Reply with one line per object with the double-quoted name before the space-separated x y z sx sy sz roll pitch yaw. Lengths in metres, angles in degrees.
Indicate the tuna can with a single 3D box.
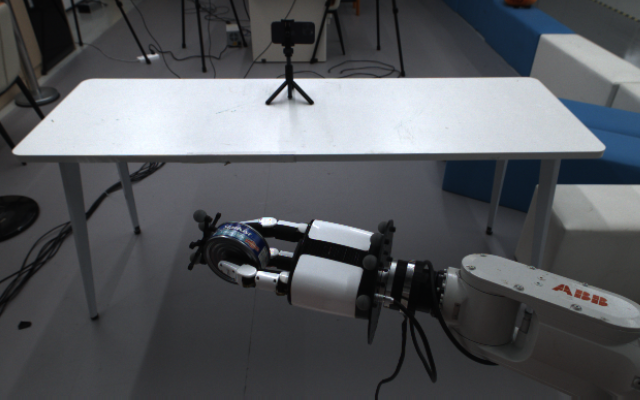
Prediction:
"tuna can" -0.109 0.077 0.650 0.085 0.085 0.034 11 35 13
